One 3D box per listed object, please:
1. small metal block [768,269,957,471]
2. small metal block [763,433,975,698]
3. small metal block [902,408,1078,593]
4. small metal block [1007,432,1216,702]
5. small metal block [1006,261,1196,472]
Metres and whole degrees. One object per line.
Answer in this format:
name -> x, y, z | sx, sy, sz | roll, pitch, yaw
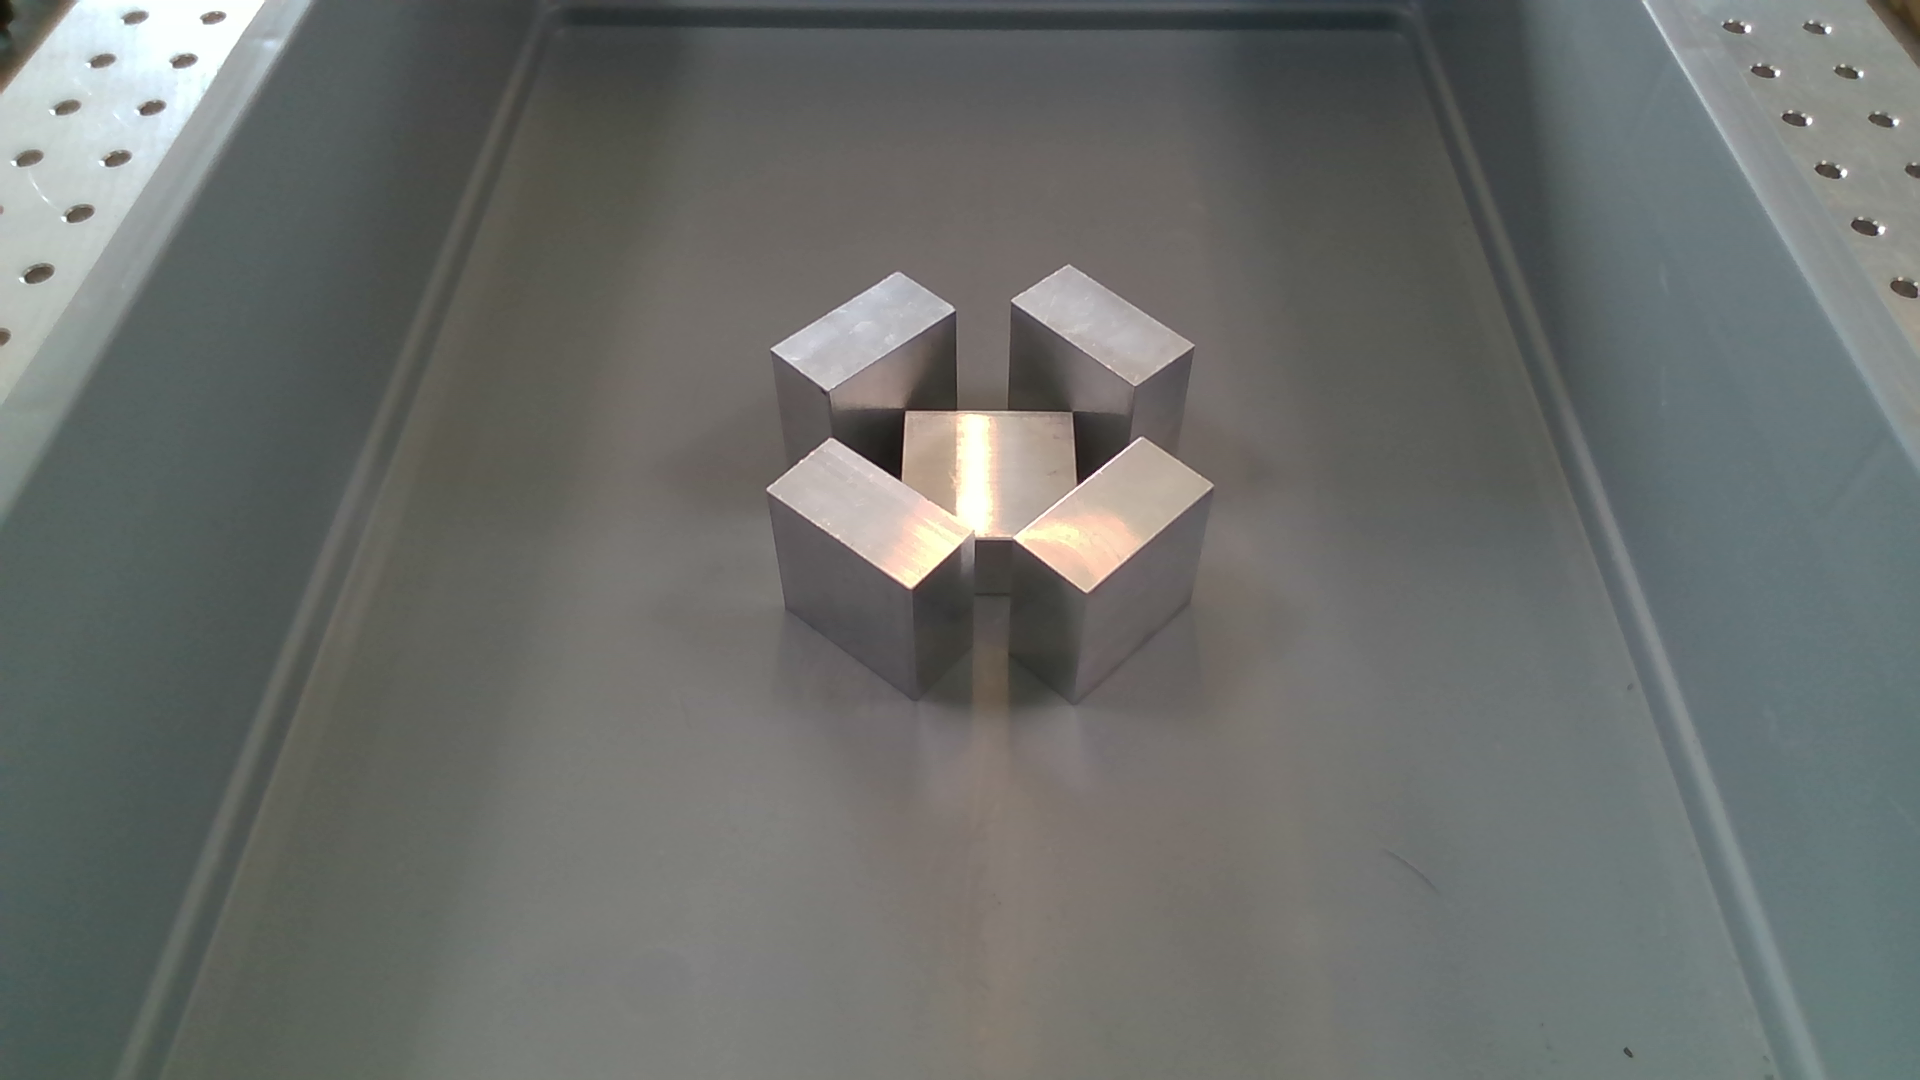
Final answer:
small metal block -> -0.028, -0.045, 0.413 | 0.050, 0.050, 0.025 | -37, 58, -27
small metal block -> -0.023, 0.007, 0.369 | 0.050, 0.050, 0.025 | 33, 59, 24
small metal block -> 0.008, -0.012, 0.402 | 0.050, 0.025, 0.050 | 0, 50, 0
small metal block -> 0.040, 0.007, 0.369 | 0.050, 0.050, 0.025 | -38, 60, -26
small metal block -> 0.041, -0.047, 0.414 | 0.025, 0.050, 0.050 | -34, 57, -26
